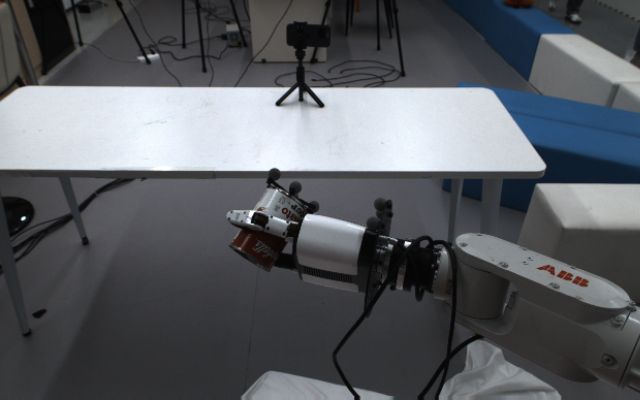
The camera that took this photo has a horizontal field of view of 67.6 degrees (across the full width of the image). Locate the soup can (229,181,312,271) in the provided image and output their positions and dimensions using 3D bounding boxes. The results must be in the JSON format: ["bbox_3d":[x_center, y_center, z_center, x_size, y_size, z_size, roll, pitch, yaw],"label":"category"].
[{"bbox_3d":[-0.071,0.040,0.676,0.067,0.067,0.101,24,73,29],"label":"soup can"}]
